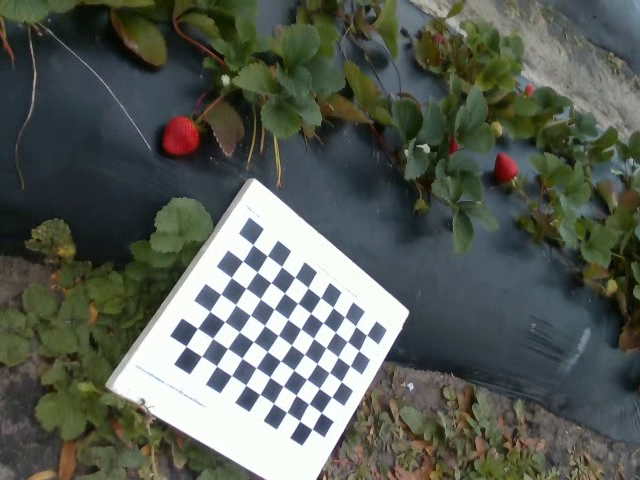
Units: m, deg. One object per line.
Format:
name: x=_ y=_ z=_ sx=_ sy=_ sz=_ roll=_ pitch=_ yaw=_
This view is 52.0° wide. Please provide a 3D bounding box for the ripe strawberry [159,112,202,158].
ripe strawberry: x=-0.099 y=-0.074 z=0.461 sx=0.032 sy=0.029 sz=0.022 roll=-45 pitch=20 yaw=-24
